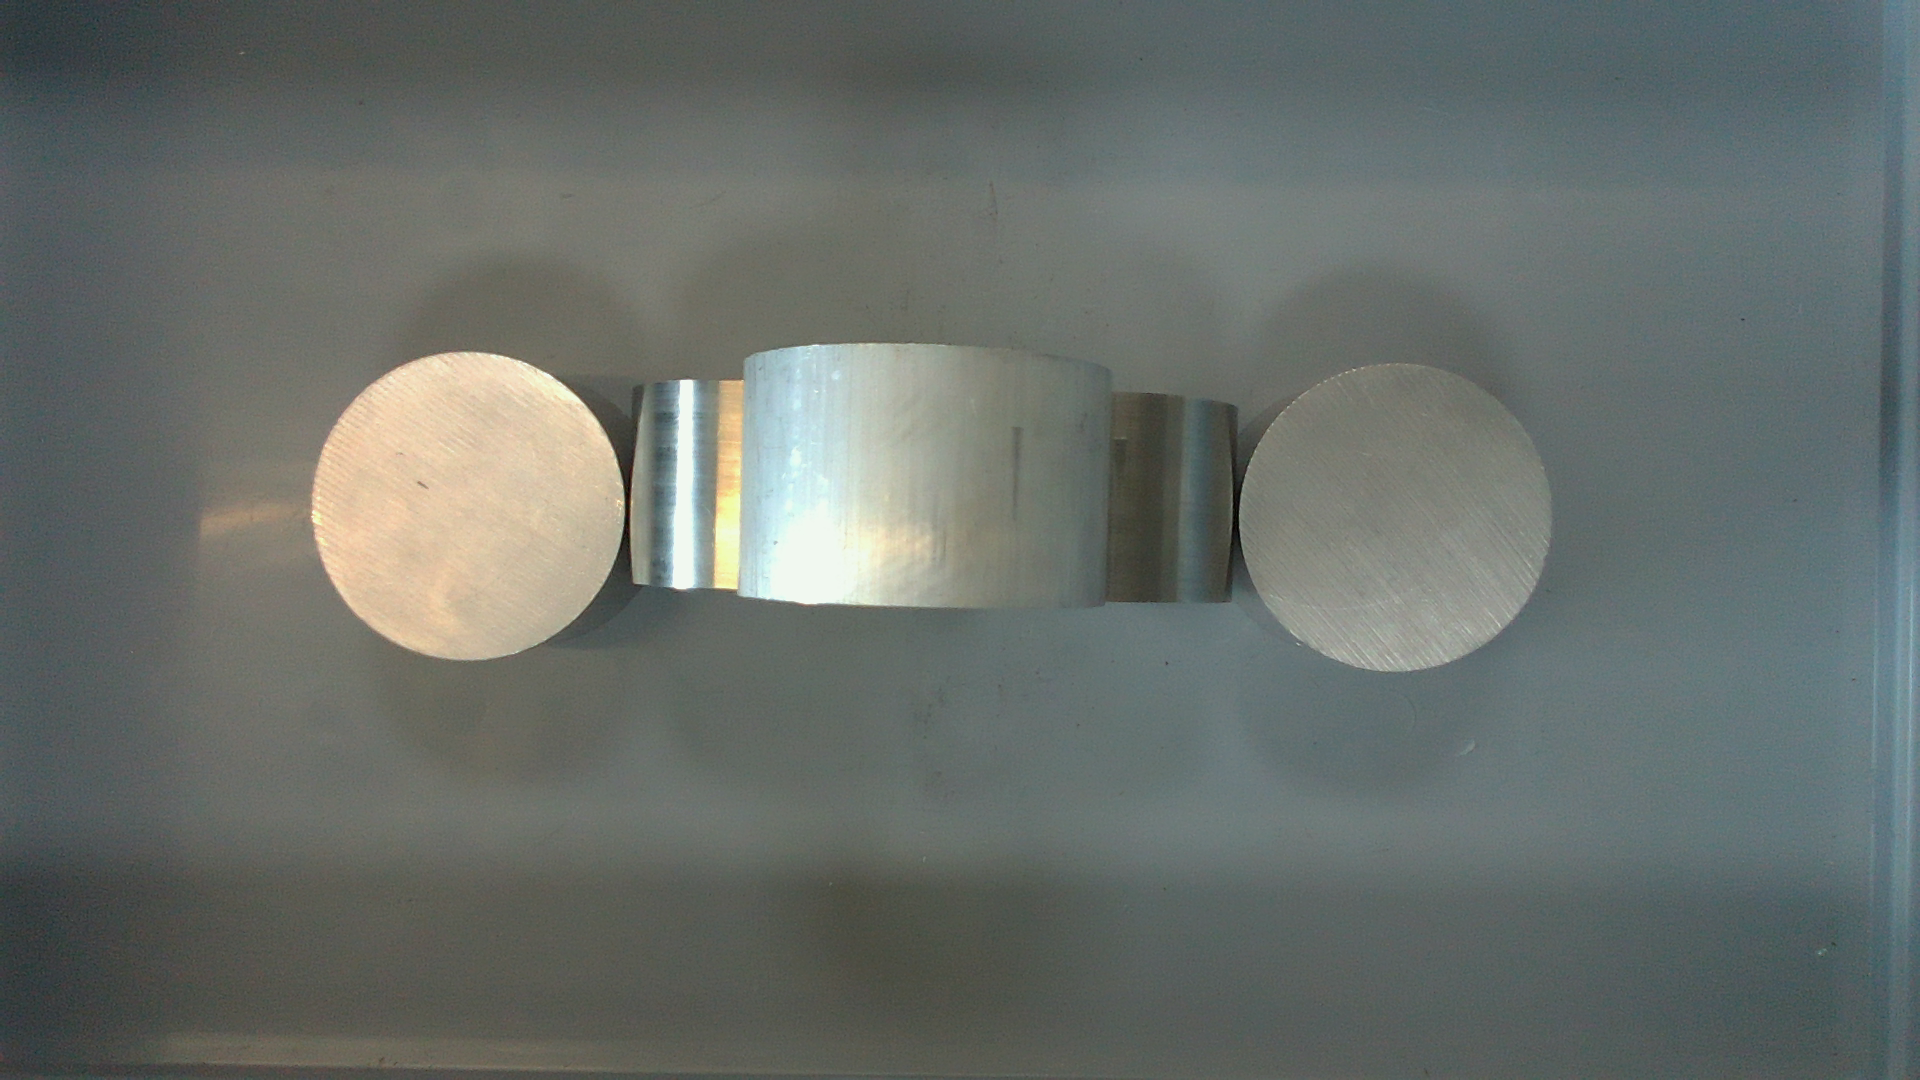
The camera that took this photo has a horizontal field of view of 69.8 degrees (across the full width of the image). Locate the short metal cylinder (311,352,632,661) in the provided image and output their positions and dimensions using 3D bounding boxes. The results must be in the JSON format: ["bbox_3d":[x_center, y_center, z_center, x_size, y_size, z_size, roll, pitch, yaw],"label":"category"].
[{"bbox_3d":[-0.128,-0.009,0.381,0.080,0.050,0.080,0,90,0],"label":"short metal cylinder"}]

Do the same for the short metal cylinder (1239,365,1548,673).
[{"bbox_3d":[0.113,-0.006,0.382,0.080,0.050,0.080,0,90,0],"label":"short metal cylinder"}]

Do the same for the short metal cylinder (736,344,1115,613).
[{"bbox_3d":[-0.007,-0.012,0.298,0.080,0.080,0.050,2,90,0],"label":"short metal cylinder"}]

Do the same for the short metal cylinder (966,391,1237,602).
[{"bbox_3d":[0.033,-0.011,0.366,0.080,0.080,0.050,2,90,0],"label":"short metal cylinder"}]

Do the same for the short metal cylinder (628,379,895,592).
[{"bbox_3d":[-0.047,-0.013,0.366,0.080,0.080,0.050,2,90,0],"label":"short metal cylinder"}]
